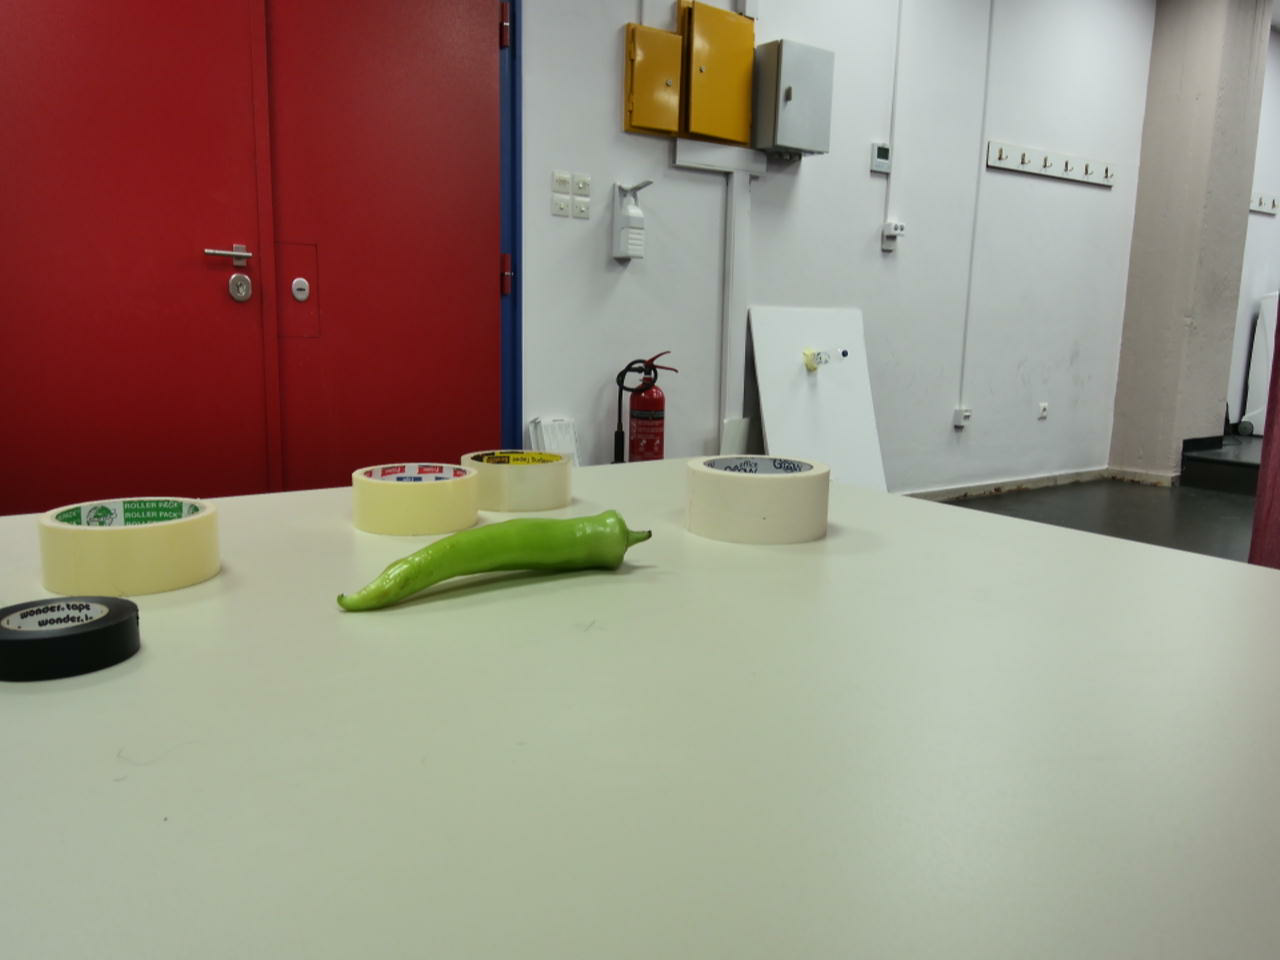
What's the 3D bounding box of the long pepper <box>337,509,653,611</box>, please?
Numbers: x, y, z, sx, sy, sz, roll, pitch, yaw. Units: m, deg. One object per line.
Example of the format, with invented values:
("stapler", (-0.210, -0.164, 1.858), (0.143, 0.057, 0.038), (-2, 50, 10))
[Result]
("long pepper", (-0.083, 0.043, 0.585), (0.197, 0.038, 0.047), (-5, 9, -34))
